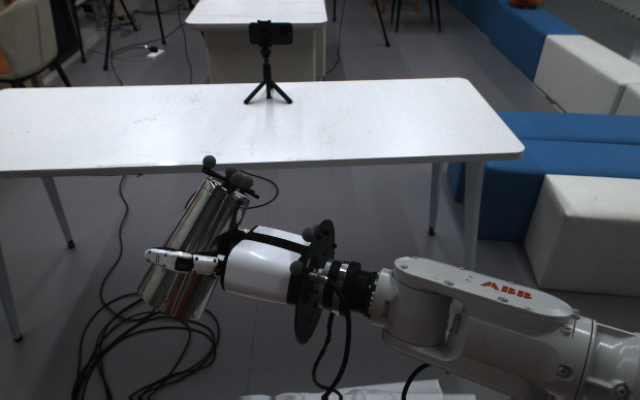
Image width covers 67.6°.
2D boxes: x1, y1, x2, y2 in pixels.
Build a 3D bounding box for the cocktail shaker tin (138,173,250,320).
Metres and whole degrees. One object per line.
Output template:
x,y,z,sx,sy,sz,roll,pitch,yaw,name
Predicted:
-0.159,0.057,0.639,0.093,0.170,0.093,27,2,-1,cocktail shaker tin
